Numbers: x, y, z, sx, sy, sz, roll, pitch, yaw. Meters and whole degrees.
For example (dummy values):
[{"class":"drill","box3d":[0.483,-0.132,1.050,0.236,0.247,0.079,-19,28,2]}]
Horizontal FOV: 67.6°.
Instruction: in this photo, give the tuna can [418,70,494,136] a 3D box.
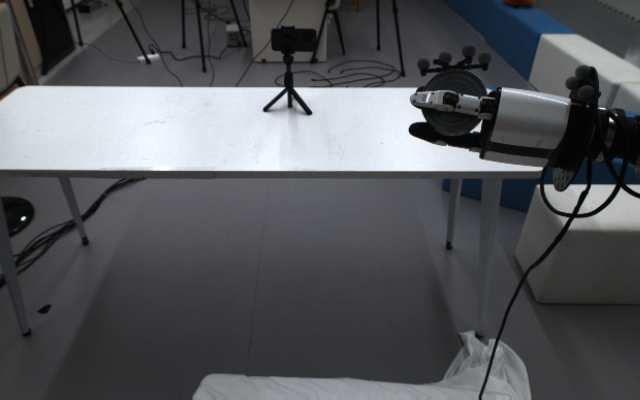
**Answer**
[{"class":"tuna can","box3d":[0.180,-0.132,0.654,0.085,0.085,0.034,16,1,19]}]
